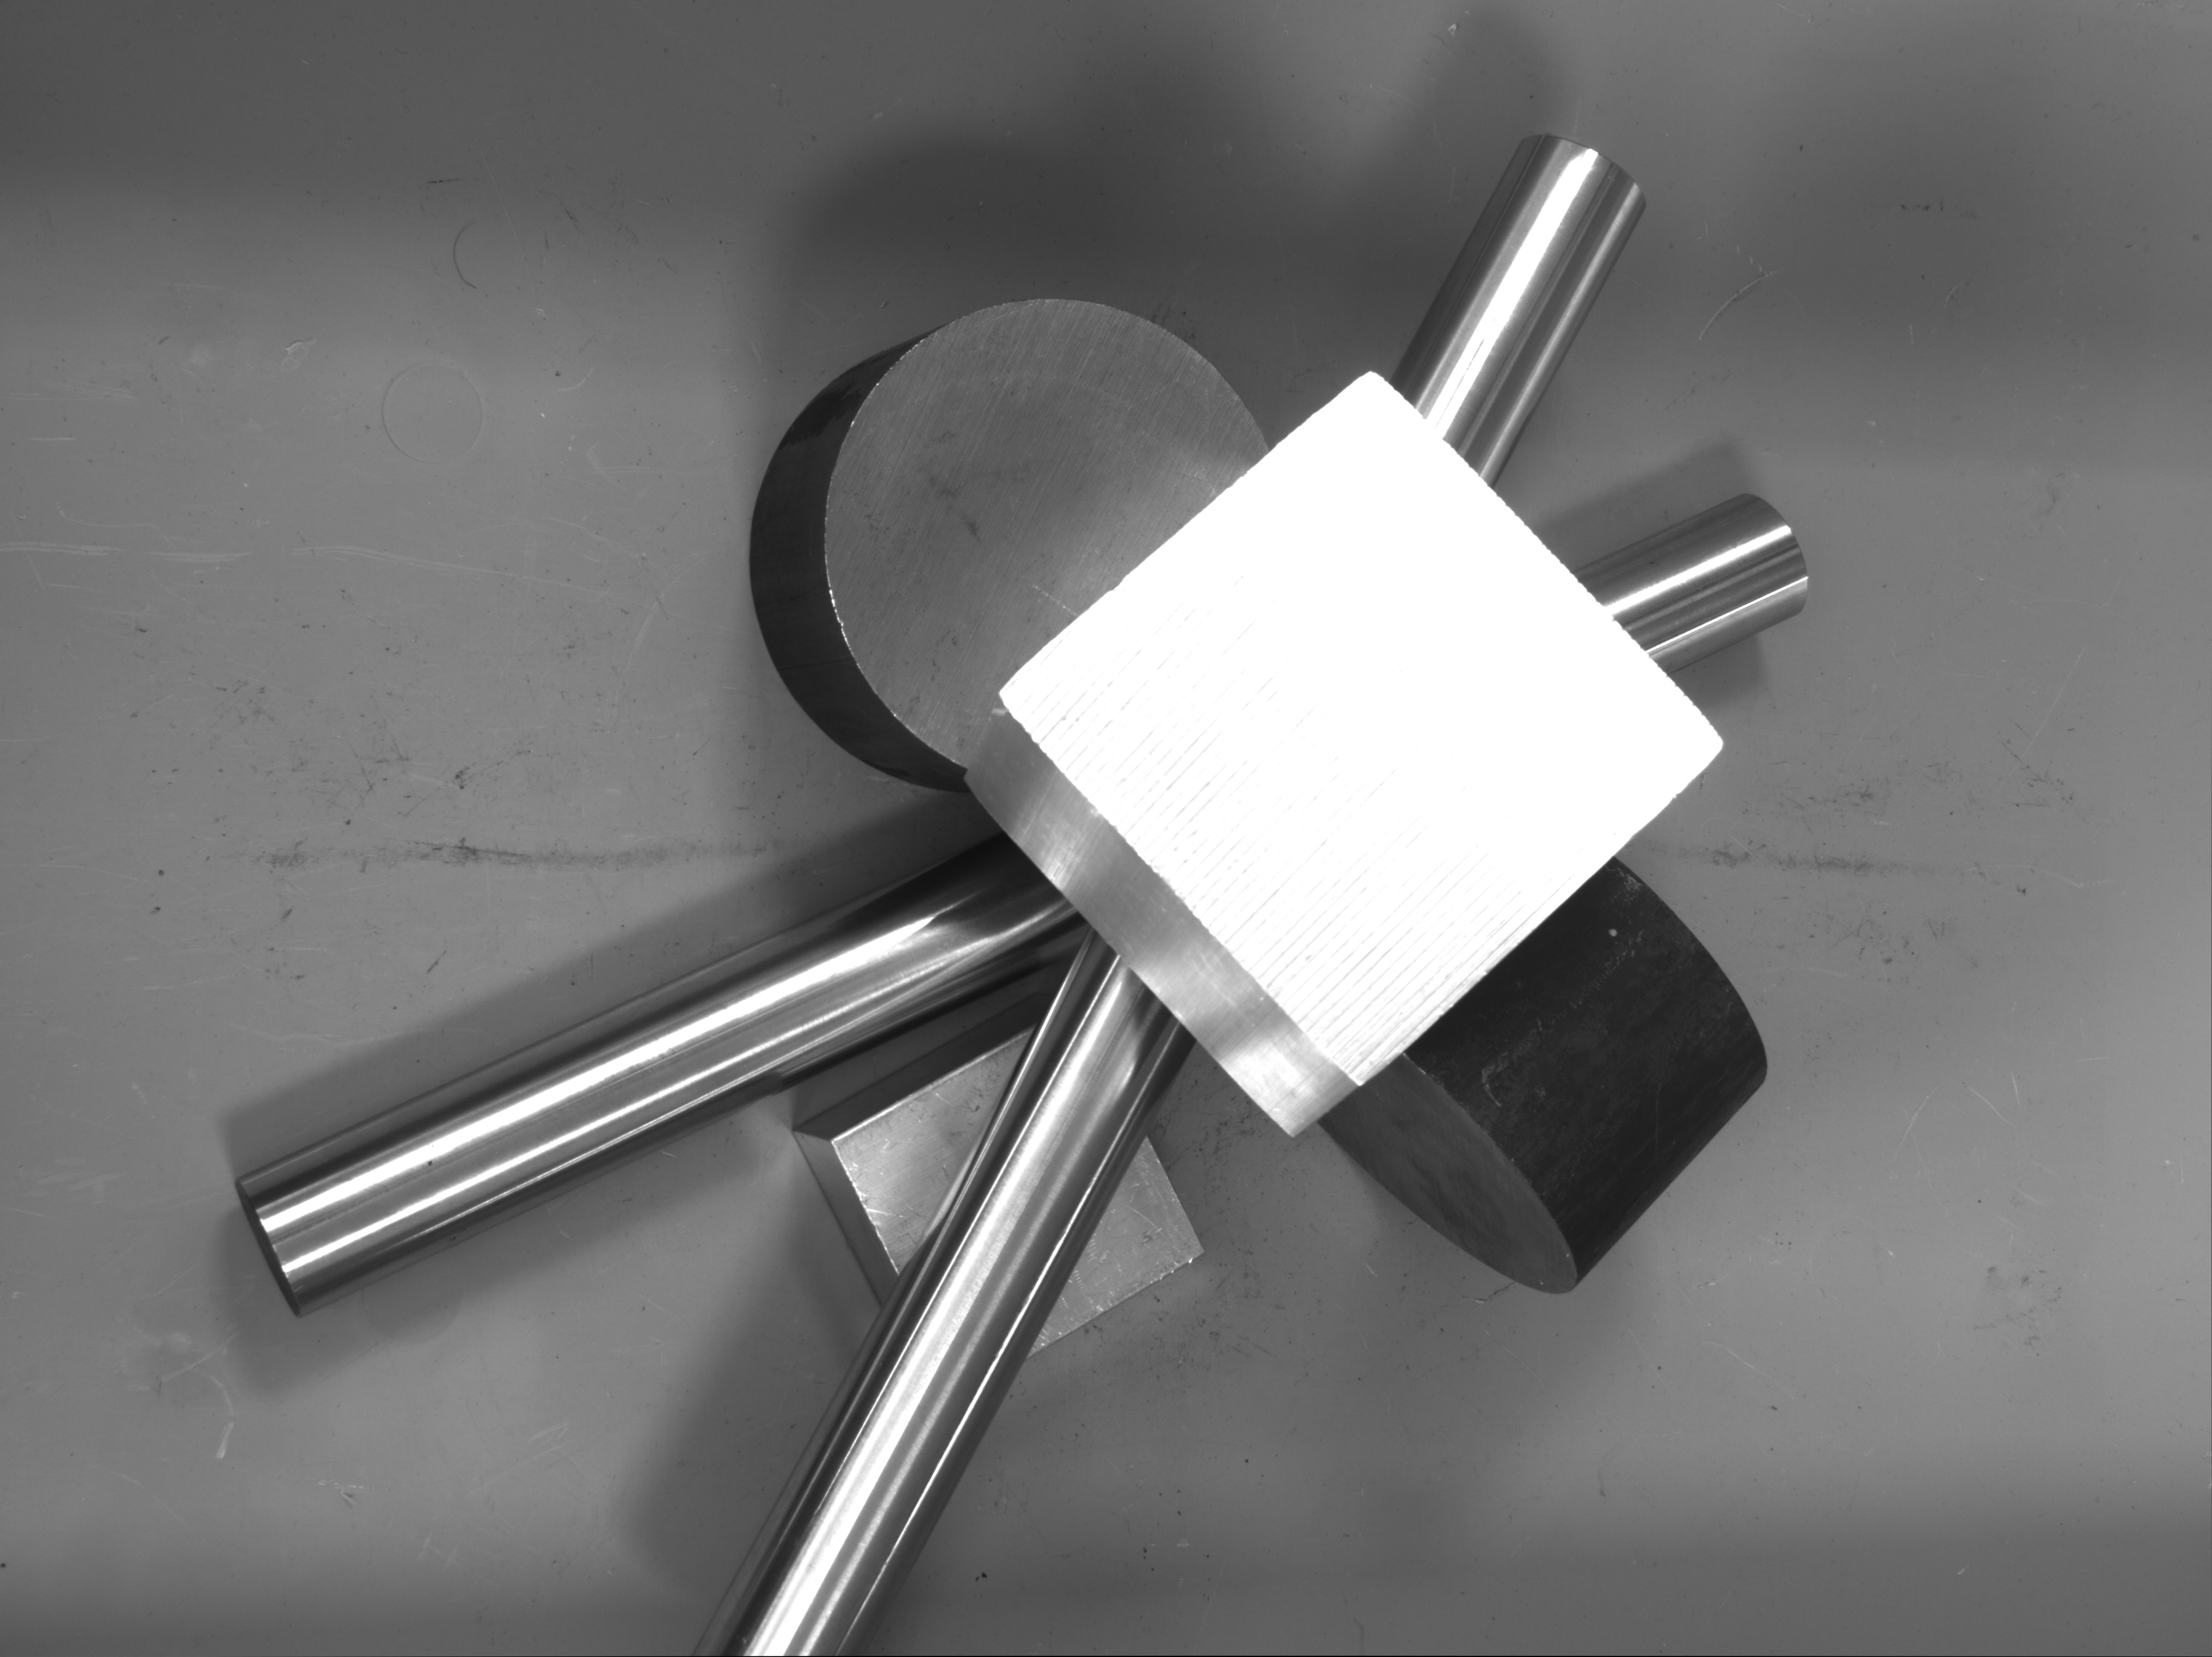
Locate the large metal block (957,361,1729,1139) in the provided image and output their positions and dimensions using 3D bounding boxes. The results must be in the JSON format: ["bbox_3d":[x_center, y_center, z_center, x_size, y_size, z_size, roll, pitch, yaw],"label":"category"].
[{"bbox_3d":[0.035,-0.011,0.575,0.080,0.050,0.080,-41,85,-14],"label":"large metal block"}]

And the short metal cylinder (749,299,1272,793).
[{"bbox_3d":[-0.015,-0.046,0.623,0.080,0.050,0.080,0,90,-20],"label":"short metal cylinder"}]

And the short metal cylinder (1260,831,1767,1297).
[{"bbox_3d":[0.067,0.035,0.638,0.050,0.080,0.080,-45,104,-13],"label":"short metal cylinder"}]

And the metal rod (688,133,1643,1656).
[{"bbox_3d":[0.012,0.014,0.621,0.025,0.025,0.300,32,79,-17],"label":"metal rod"}]

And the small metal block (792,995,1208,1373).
[{"bbox_3d":[-0.018,0.063,0.636,0.050,0.025,0.050,-29,100,-17],"label":"small metal block"}]

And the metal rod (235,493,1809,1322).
[{"bbox_3d":[-0.006,0.009,0.640,0.300,0.025,0.025,-25,98,-18],"label":"metal rod"}]
